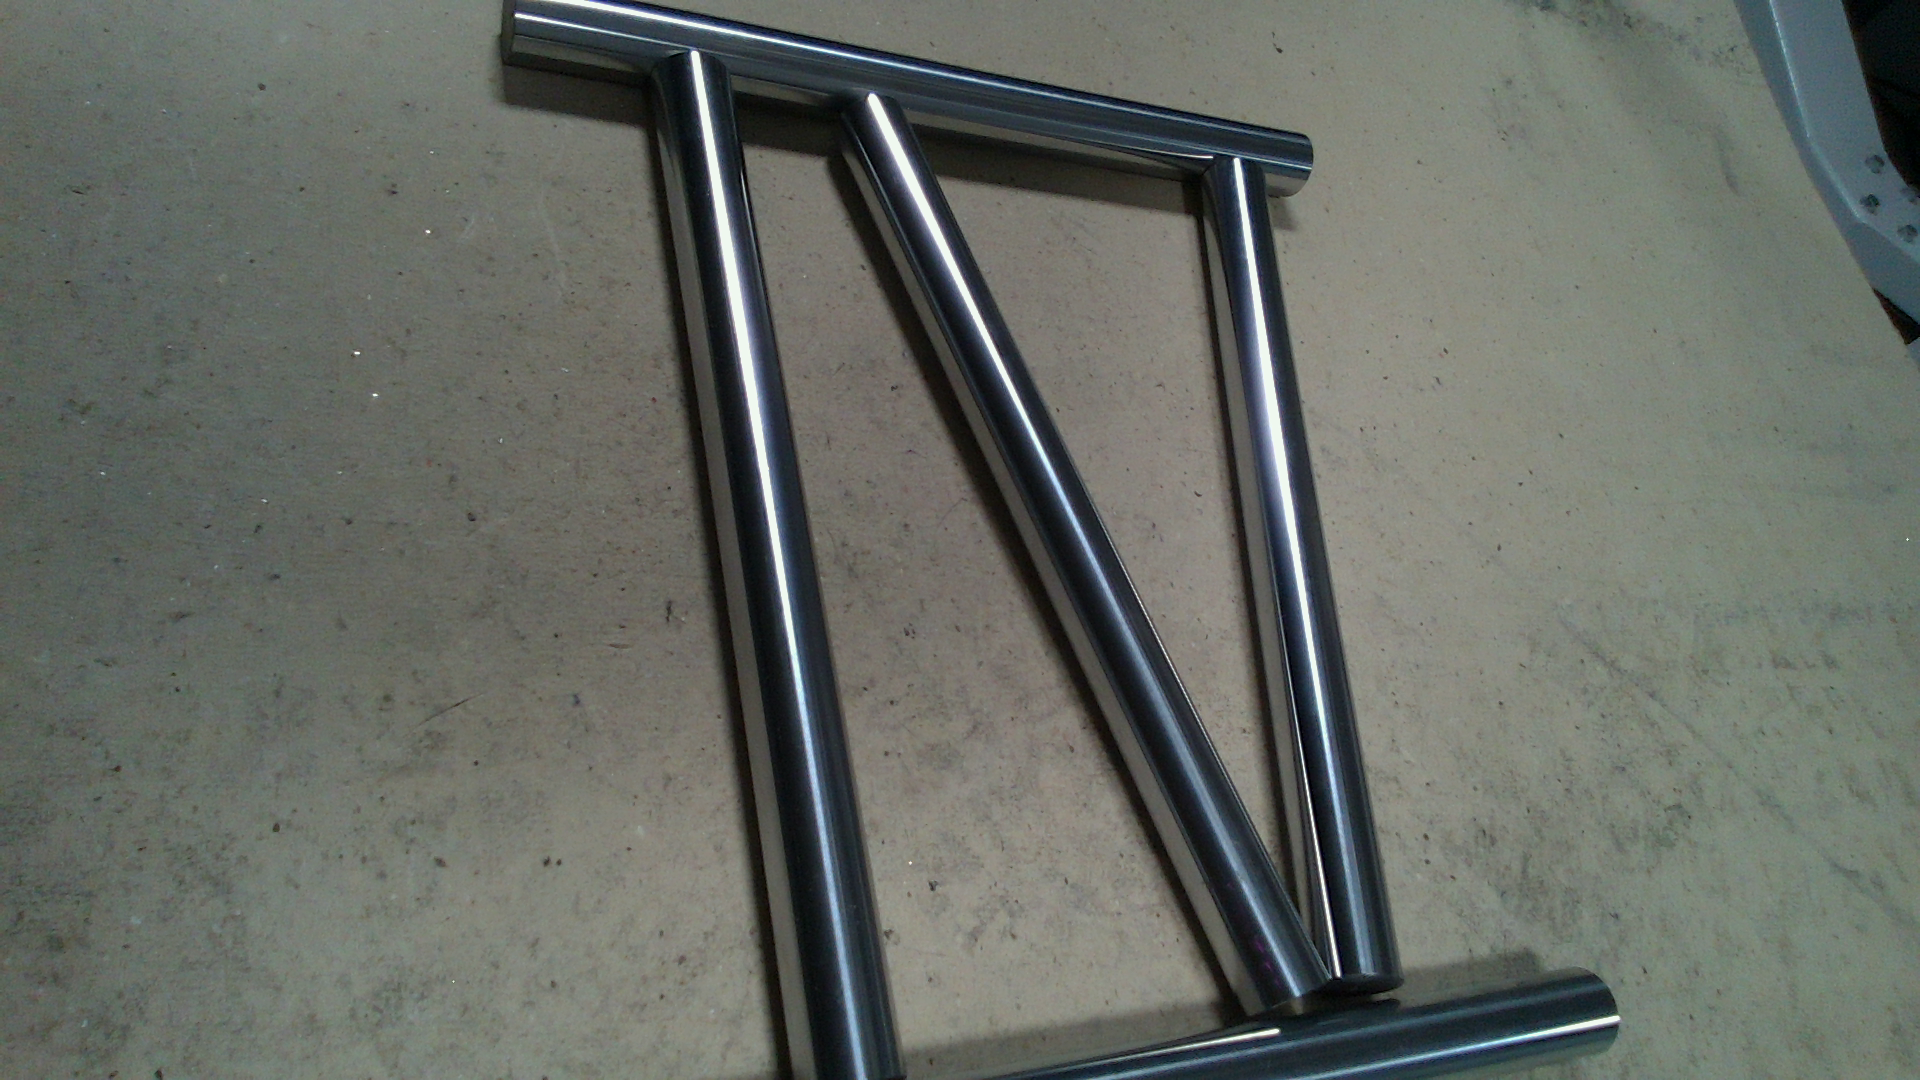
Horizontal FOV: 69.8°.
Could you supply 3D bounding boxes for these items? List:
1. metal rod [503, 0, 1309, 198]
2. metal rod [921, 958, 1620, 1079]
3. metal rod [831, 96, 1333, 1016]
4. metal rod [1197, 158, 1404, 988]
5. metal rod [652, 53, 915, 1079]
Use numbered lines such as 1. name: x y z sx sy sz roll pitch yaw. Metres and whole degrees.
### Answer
1. metal rod: -0.002 -0.152 0.482 0.301 0.025 0.025 1 61 -28
2. metal rod: 0.050 0.133 0.334 0.301 0.025 0.025 1 61 -28
3. metal rod: 0.028 -0.009 0.409 0.025 0.025 0.300 -12 68 -33
4. metal rod: 0.105 -0.009 0.451 0.025 0.025 0.300 12 56 -21
5. metal rod: -0.053 -0.011 0.367 0.025 0.025 0.300 1 61 -28
